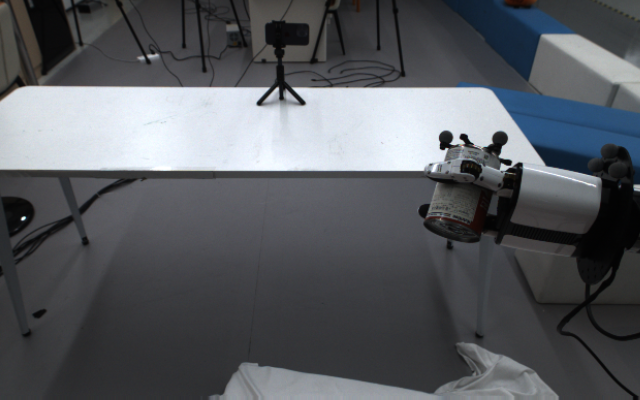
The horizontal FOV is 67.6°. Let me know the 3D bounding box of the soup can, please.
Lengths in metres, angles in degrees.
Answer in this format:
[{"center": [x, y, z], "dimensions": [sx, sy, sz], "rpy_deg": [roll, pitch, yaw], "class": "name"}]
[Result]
[{"center": [0.172, -0.011, 0.586], "dimensions": [0.067, 0.067, 0.101], "rpy_deg": [16, 74, 19], "class": "soup can"}]
